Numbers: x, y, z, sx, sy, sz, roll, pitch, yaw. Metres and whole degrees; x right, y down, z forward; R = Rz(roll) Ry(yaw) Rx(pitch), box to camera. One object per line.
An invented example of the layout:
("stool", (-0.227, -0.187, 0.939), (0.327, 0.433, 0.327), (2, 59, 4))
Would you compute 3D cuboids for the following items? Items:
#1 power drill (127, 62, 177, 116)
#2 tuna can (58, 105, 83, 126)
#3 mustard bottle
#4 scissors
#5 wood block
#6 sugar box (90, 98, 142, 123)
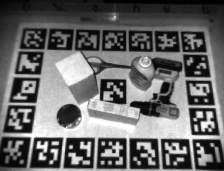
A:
("power drill", (0.160, 0.011, 0.802), (0.184, 0.057, 0.187), (13, 79, 4))
("tuna can", (-0.149, 0.103, 0.778), (0.086, 0.034, 0.085), (1, 73, -1))
("mustard bottle", (0.112, -0.056, 0.762), (0.058, 0.192, 0.095), (-39, 76, -10))
("scissors", (-0.025, -0.090, 0.854), (0.203, 0.016, 0.087), (2, 68, 0))
("wood block", (-0.108, -0.022, 0.742), (0.091, 0.207, 0.089), (-28, 74, -8))
("sugar box", (0.016, 0.088, 0.759), (0.176, 0.093, 0.045), (12, 69, 2))
